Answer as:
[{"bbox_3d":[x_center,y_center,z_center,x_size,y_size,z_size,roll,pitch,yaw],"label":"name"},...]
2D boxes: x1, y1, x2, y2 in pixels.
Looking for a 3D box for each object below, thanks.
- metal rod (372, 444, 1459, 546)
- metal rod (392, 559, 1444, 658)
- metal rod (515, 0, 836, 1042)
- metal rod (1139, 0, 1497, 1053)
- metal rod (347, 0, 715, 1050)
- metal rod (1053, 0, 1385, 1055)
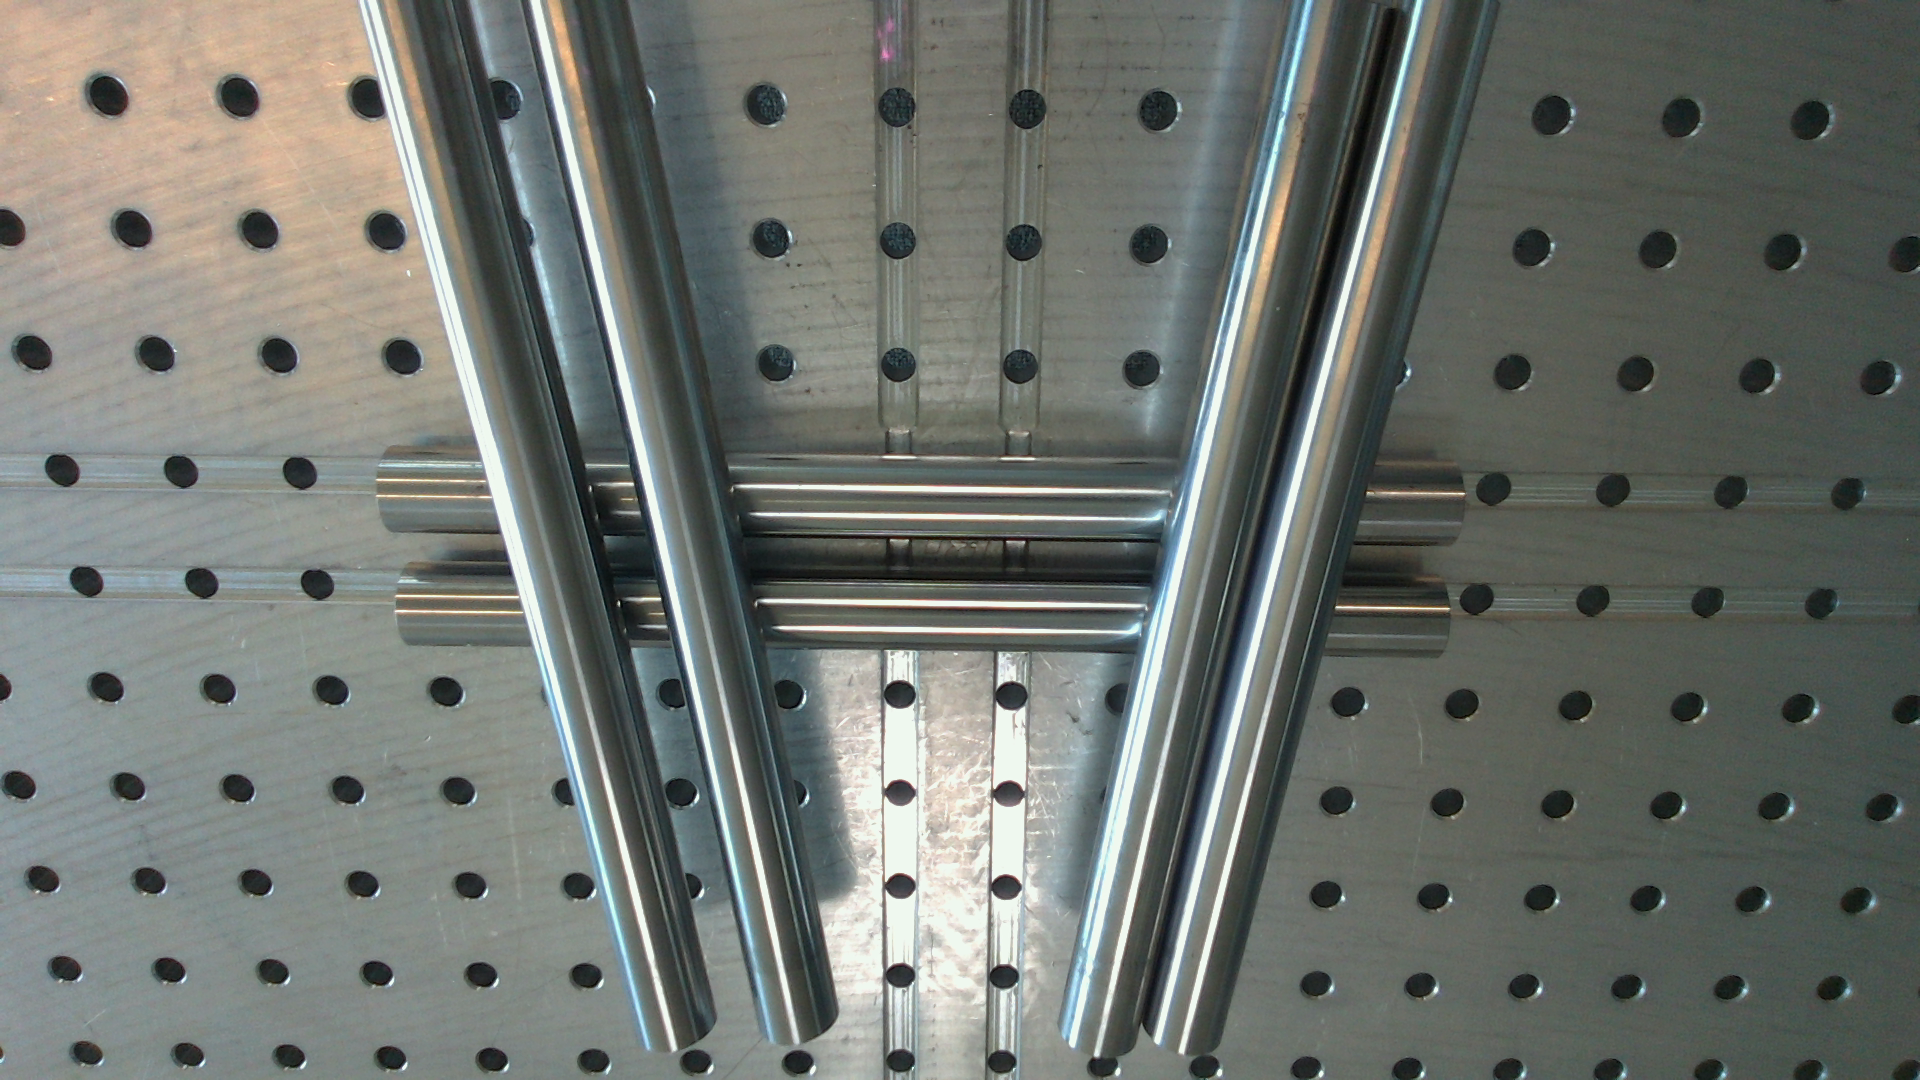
[{"bbox_3d":[-0.012,-0.013,0.392,0.300,0.025,0.025,1,110,-1],"label":"metal rod"},{"bbox_3d":[-0.011,0.020,0.404,0.300,0.025,0.025,1,110,-1],"label":"metal rod"},{"bbox_3d":[-0.072,0.007,0.373,0.025,0.025,0.300,-8,110,3],"label":"metal rod"},{"bbox_3d":[0.090,0.011,0.375,0.025,0.025,0.300,8,110,-3],"label":"metal rod"},{"bbox_3d":[-0.109,0.009,0.373,0.025,0.025,0.300,-8,110,3],"label":"metal rod"},{"bbox_3d":[0.064,0.012,0.375,0.025,0.025,0.300,8,110,-3],"label":"metal rod"}]
